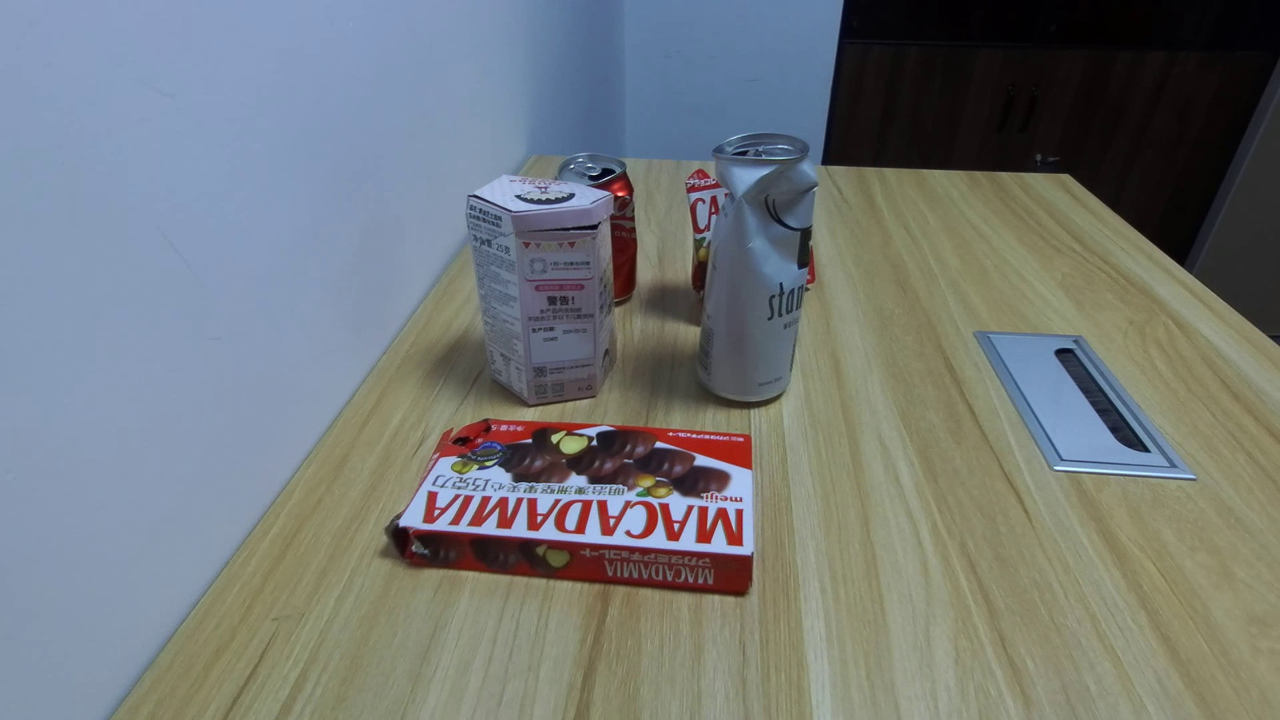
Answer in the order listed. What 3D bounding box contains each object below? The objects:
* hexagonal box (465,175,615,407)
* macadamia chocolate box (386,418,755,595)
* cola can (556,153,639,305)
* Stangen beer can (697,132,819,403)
[{"bbox_3d":[-0.060,-0.047,0.467,0.092,0.135,0.085,-7,33,-10],"label":"hexagonal box"},{"bbox_3d":[-0.032,0.072,0.386,0.186,0.027,0.102,3,32,6],"label":"macadamia chocolate box"},{"bbox_3d":[-0.036,-0.105,0.574,0.066,0.112,0.069,-8,36,-10],"label":"cola can"},{"bbox_3d":[0.071,-0.053,0.448,0.066,0.166,0.065,-16,37,-20],"label":"Stangen beer can"}]
